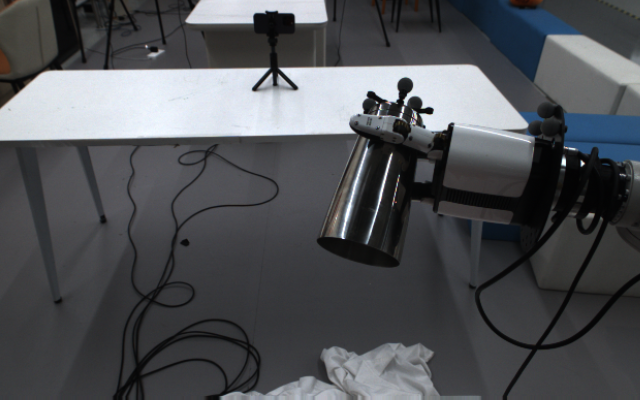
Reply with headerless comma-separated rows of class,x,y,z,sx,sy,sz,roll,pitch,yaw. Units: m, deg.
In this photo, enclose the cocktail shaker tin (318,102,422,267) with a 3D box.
cocktail shaker tin,0.066,-0.023,0.545,0.093,0.093,0.170,13,71,15
